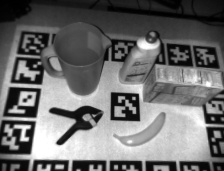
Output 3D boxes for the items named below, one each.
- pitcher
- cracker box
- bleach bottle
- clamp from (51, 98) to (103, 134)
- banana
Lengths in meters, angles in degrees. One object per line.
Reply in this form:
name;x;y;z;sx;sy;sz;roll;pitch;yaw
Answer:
pitcher;-0.105;-0.088;0.652;0.190;0.242;0.132;-13;67;-15
cracker box;0.230;-0.014;0.717;0.214;0.164;0.072;5;62;-3
bleach bottle;0.081;-0.104;0.706;0.103;0.251;0.067;3;65;-4
clamp;-0.110;0.085;0.712;0.166;0.036;0.121;-11;66;-14
banana;0.108;0.124;0.732;0.198;0.039;0.074;-29;72;-18
